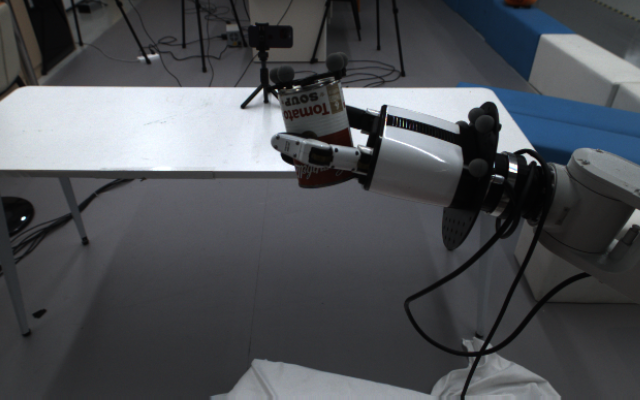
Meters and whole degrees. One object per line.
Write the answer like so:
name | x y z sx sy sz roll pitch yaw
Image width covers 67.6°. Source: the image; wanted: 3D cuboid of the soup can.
soup can | 0.001 -0.071 0.511 0.067 0.101 0.067 -12 17 4
